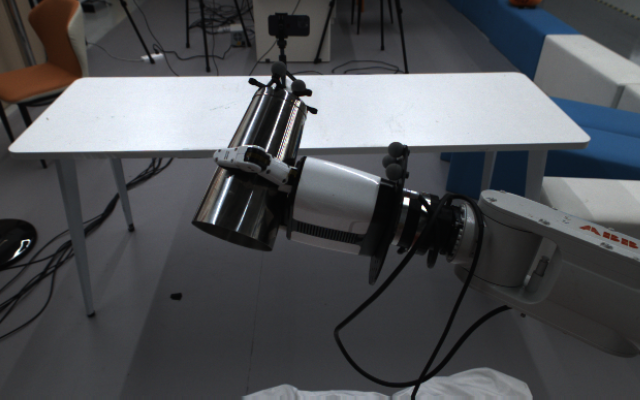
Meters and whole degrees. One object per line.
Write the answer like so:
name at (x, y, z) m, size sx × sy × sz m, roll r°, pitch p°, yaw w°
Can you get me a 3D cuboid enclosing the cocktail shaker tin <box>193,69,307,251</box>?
cocktail shaker tin at (-0.071, -0.037, 0.547) m, size 0.093 × 0.093 × 0.170 m, roll 14°, pitch 74°, yaw 17°
